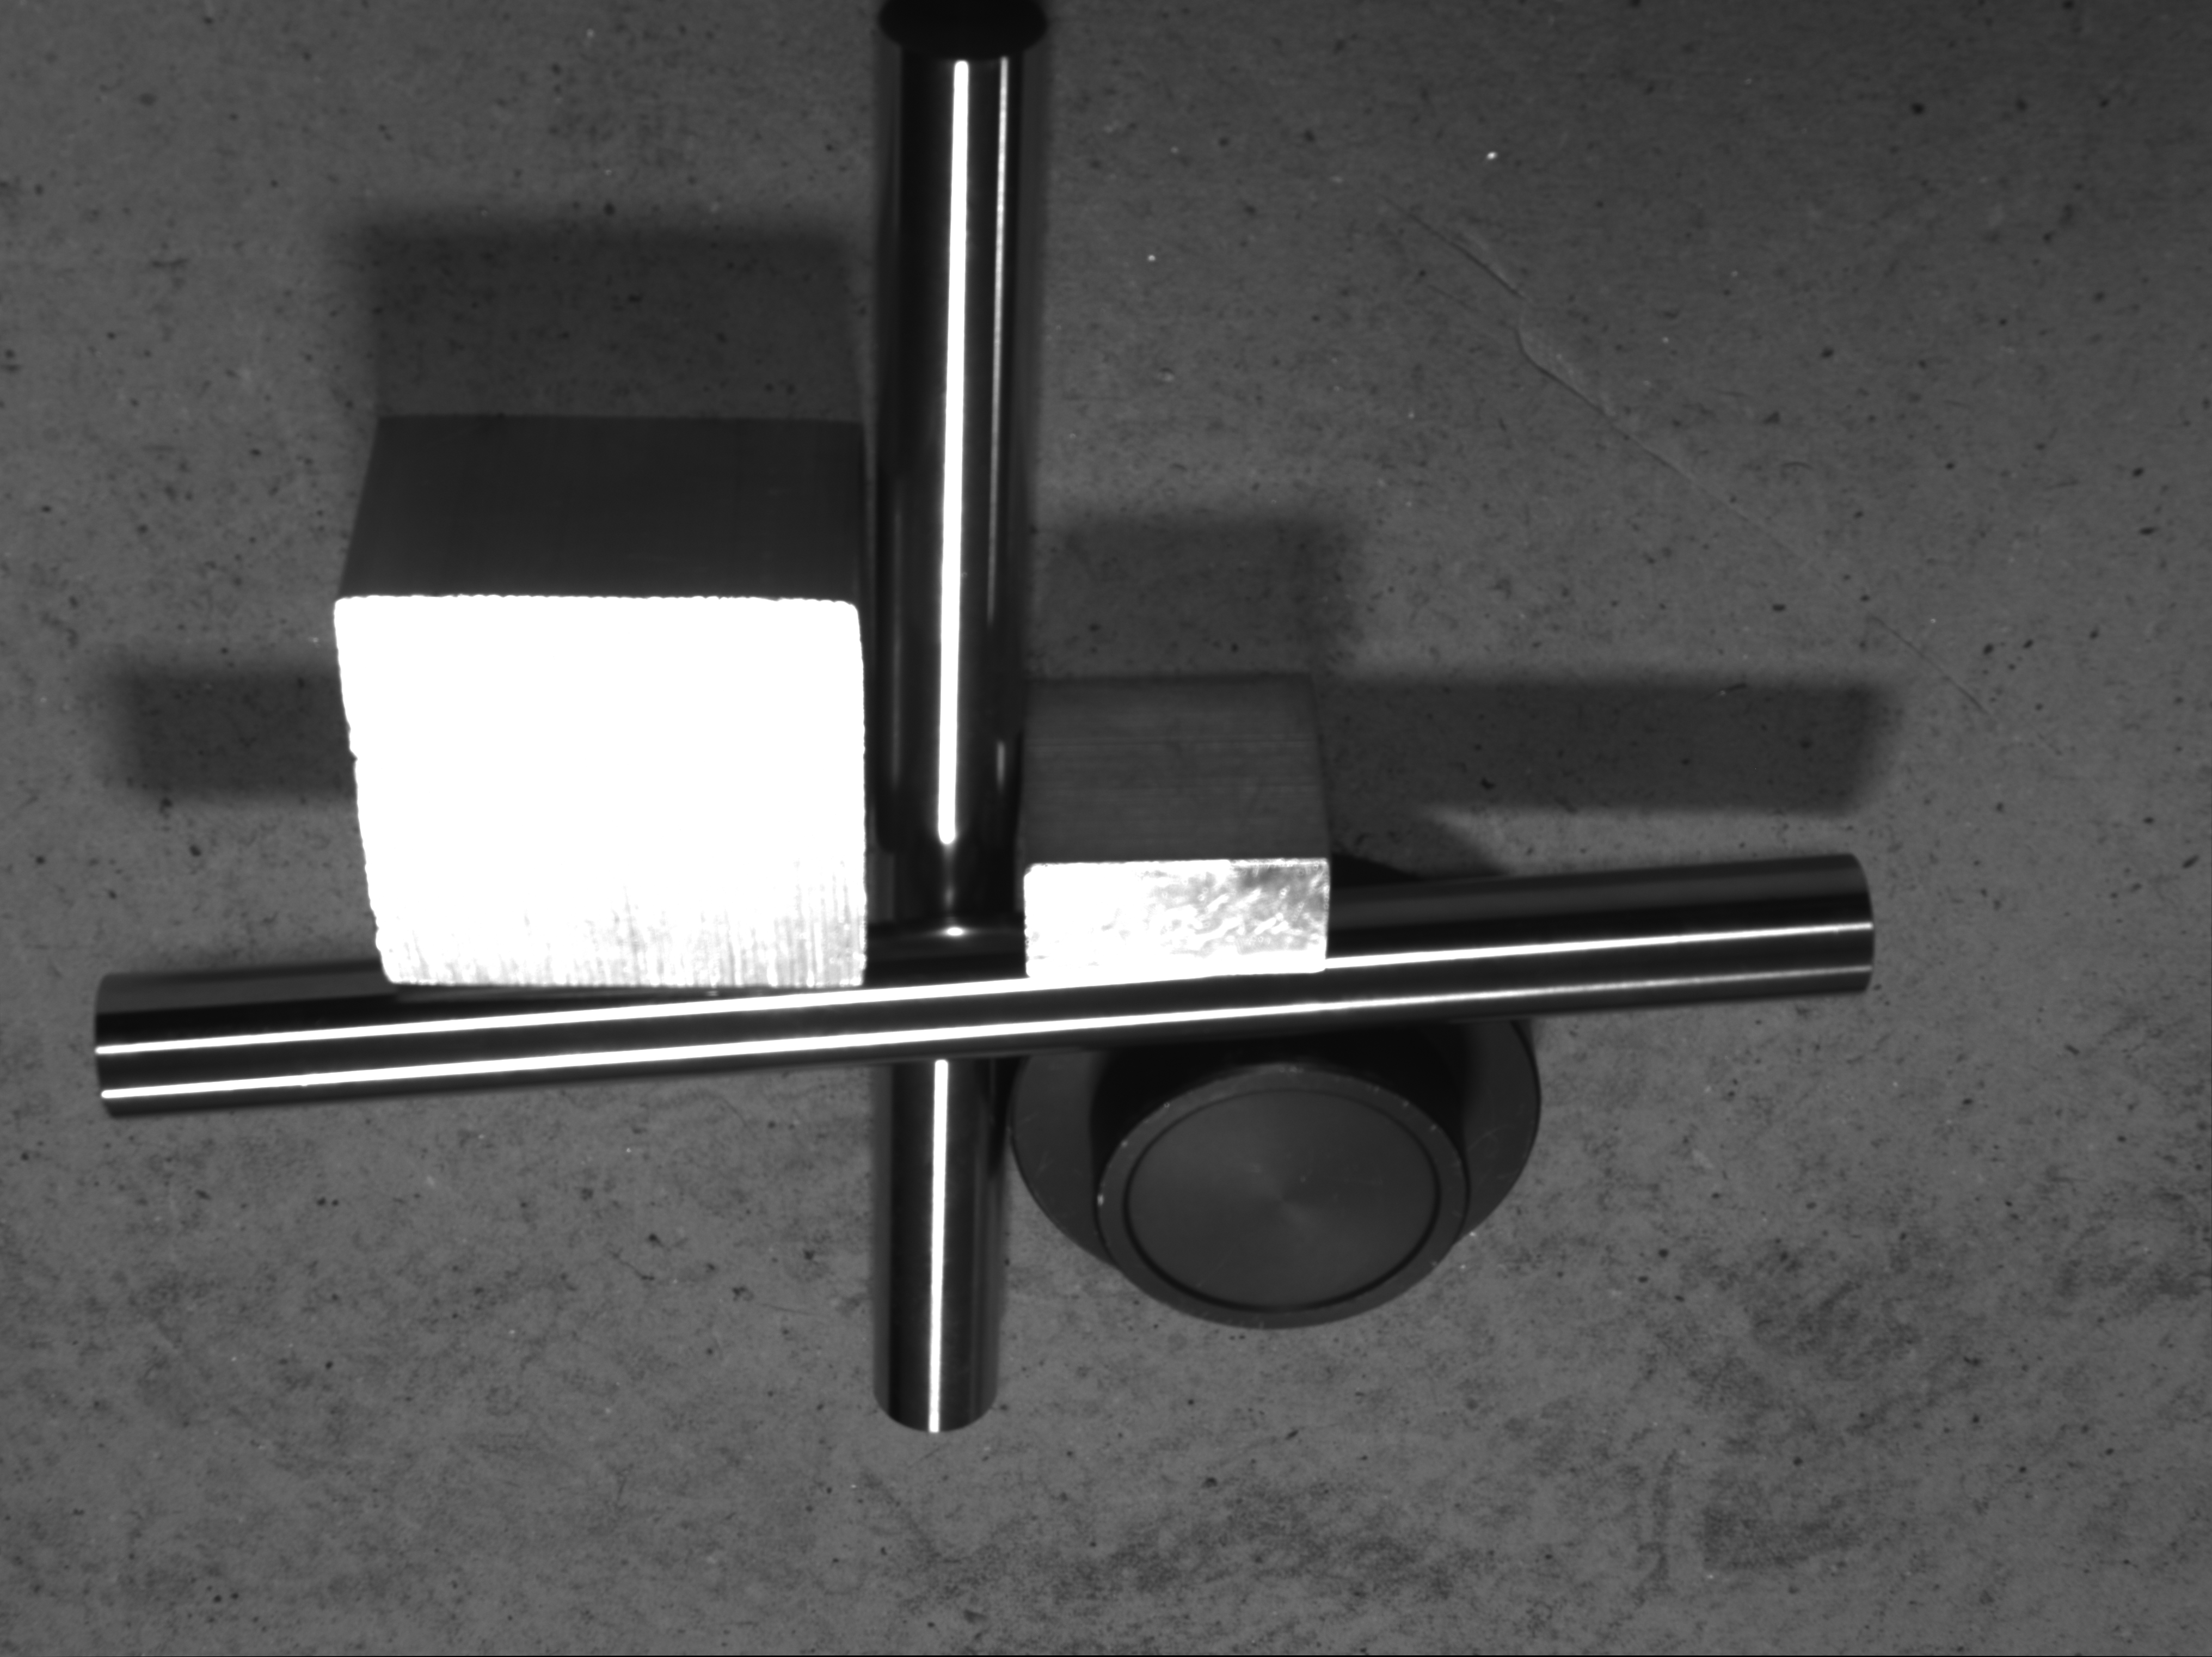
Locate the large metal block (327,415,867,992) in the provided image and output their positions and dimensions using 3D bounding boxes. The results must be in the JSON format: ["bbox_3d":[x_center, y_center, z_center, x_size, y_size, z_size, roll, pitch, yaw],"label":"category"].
[{"bbox_3d":[-0.080,-0.020,0.602,0.080,0.050,0.080,1,130,-2],"label":"large metal block"}]

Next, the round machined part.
[{"bbox_3d":[0.031,0.055,0.673,0.098,0.042,0.098,-1,130,-1],"label":"round machined part"}]

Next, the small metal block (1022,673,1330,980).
[{"bbox_3d":[0.011,-0.001,0.622,0.050,0.050,0.025,-1,130,-1],"label":"small metal block"}]

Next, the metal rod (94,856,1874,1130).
[{"bbox_3d":[-0.019,0.028,0.629,0.300,0.025,0.025,-4,130,-4],"label":"metal rod"}]

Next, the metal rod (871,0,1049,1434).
[{"bbox_3d":[-0.028,-0.004,0.634,0.025,0.025,0.300,1,130,-3],"label":"metal rod"}]
